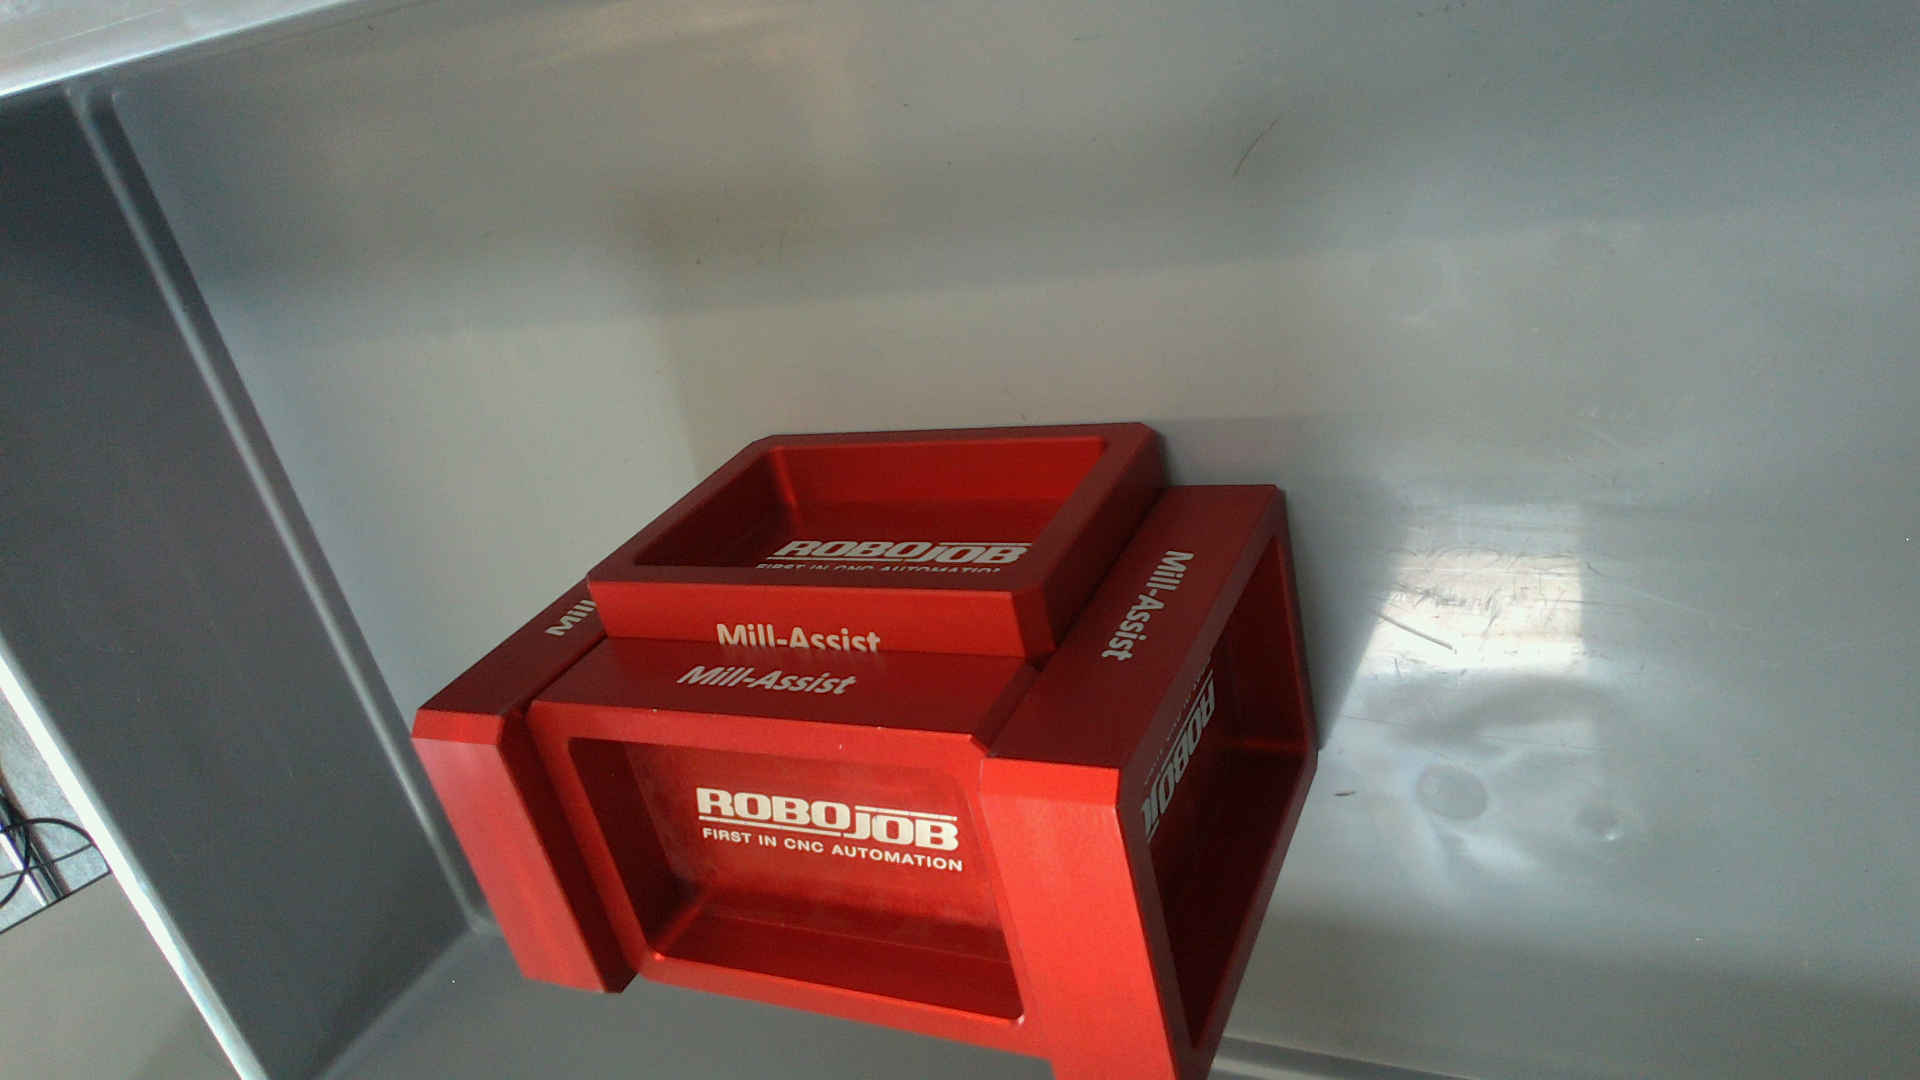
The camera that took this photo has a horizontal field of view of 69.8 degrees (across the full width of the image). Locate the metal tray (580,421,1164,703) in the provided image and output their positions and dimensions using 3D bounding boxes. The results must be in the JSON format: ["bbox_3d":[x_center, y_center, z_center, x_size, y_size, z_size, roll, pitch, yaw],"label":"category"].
[{"bbox_3d":[-0.021,0.003,0.361,0.130,0.090,0.030,1,119,29],"label":"metal tray"}]

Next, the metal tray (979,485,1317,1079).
[{"bbox_3d":[0.052,0.054,0.328,0.030,0.130,0.090,1,119,28],"label":"metal tray"}]

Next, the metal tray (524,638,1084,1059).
[{"bbox_3d":[-0.035,0.072,0.335,0.130,0.030,0.090,1,118,28],"label":"metal tray"}]

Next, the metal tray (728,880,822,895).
[{"bbox_3d":[-0.001,0.082,0.399,0.130,0.090,0.030,0,118,28],"label":"metal tray"}]

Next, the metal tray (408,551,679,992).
[{"bbox_3d":[-0.089,0.053,0.404,0.030,0.130,0.090,0,119,28],"label":"metal tray"}]
